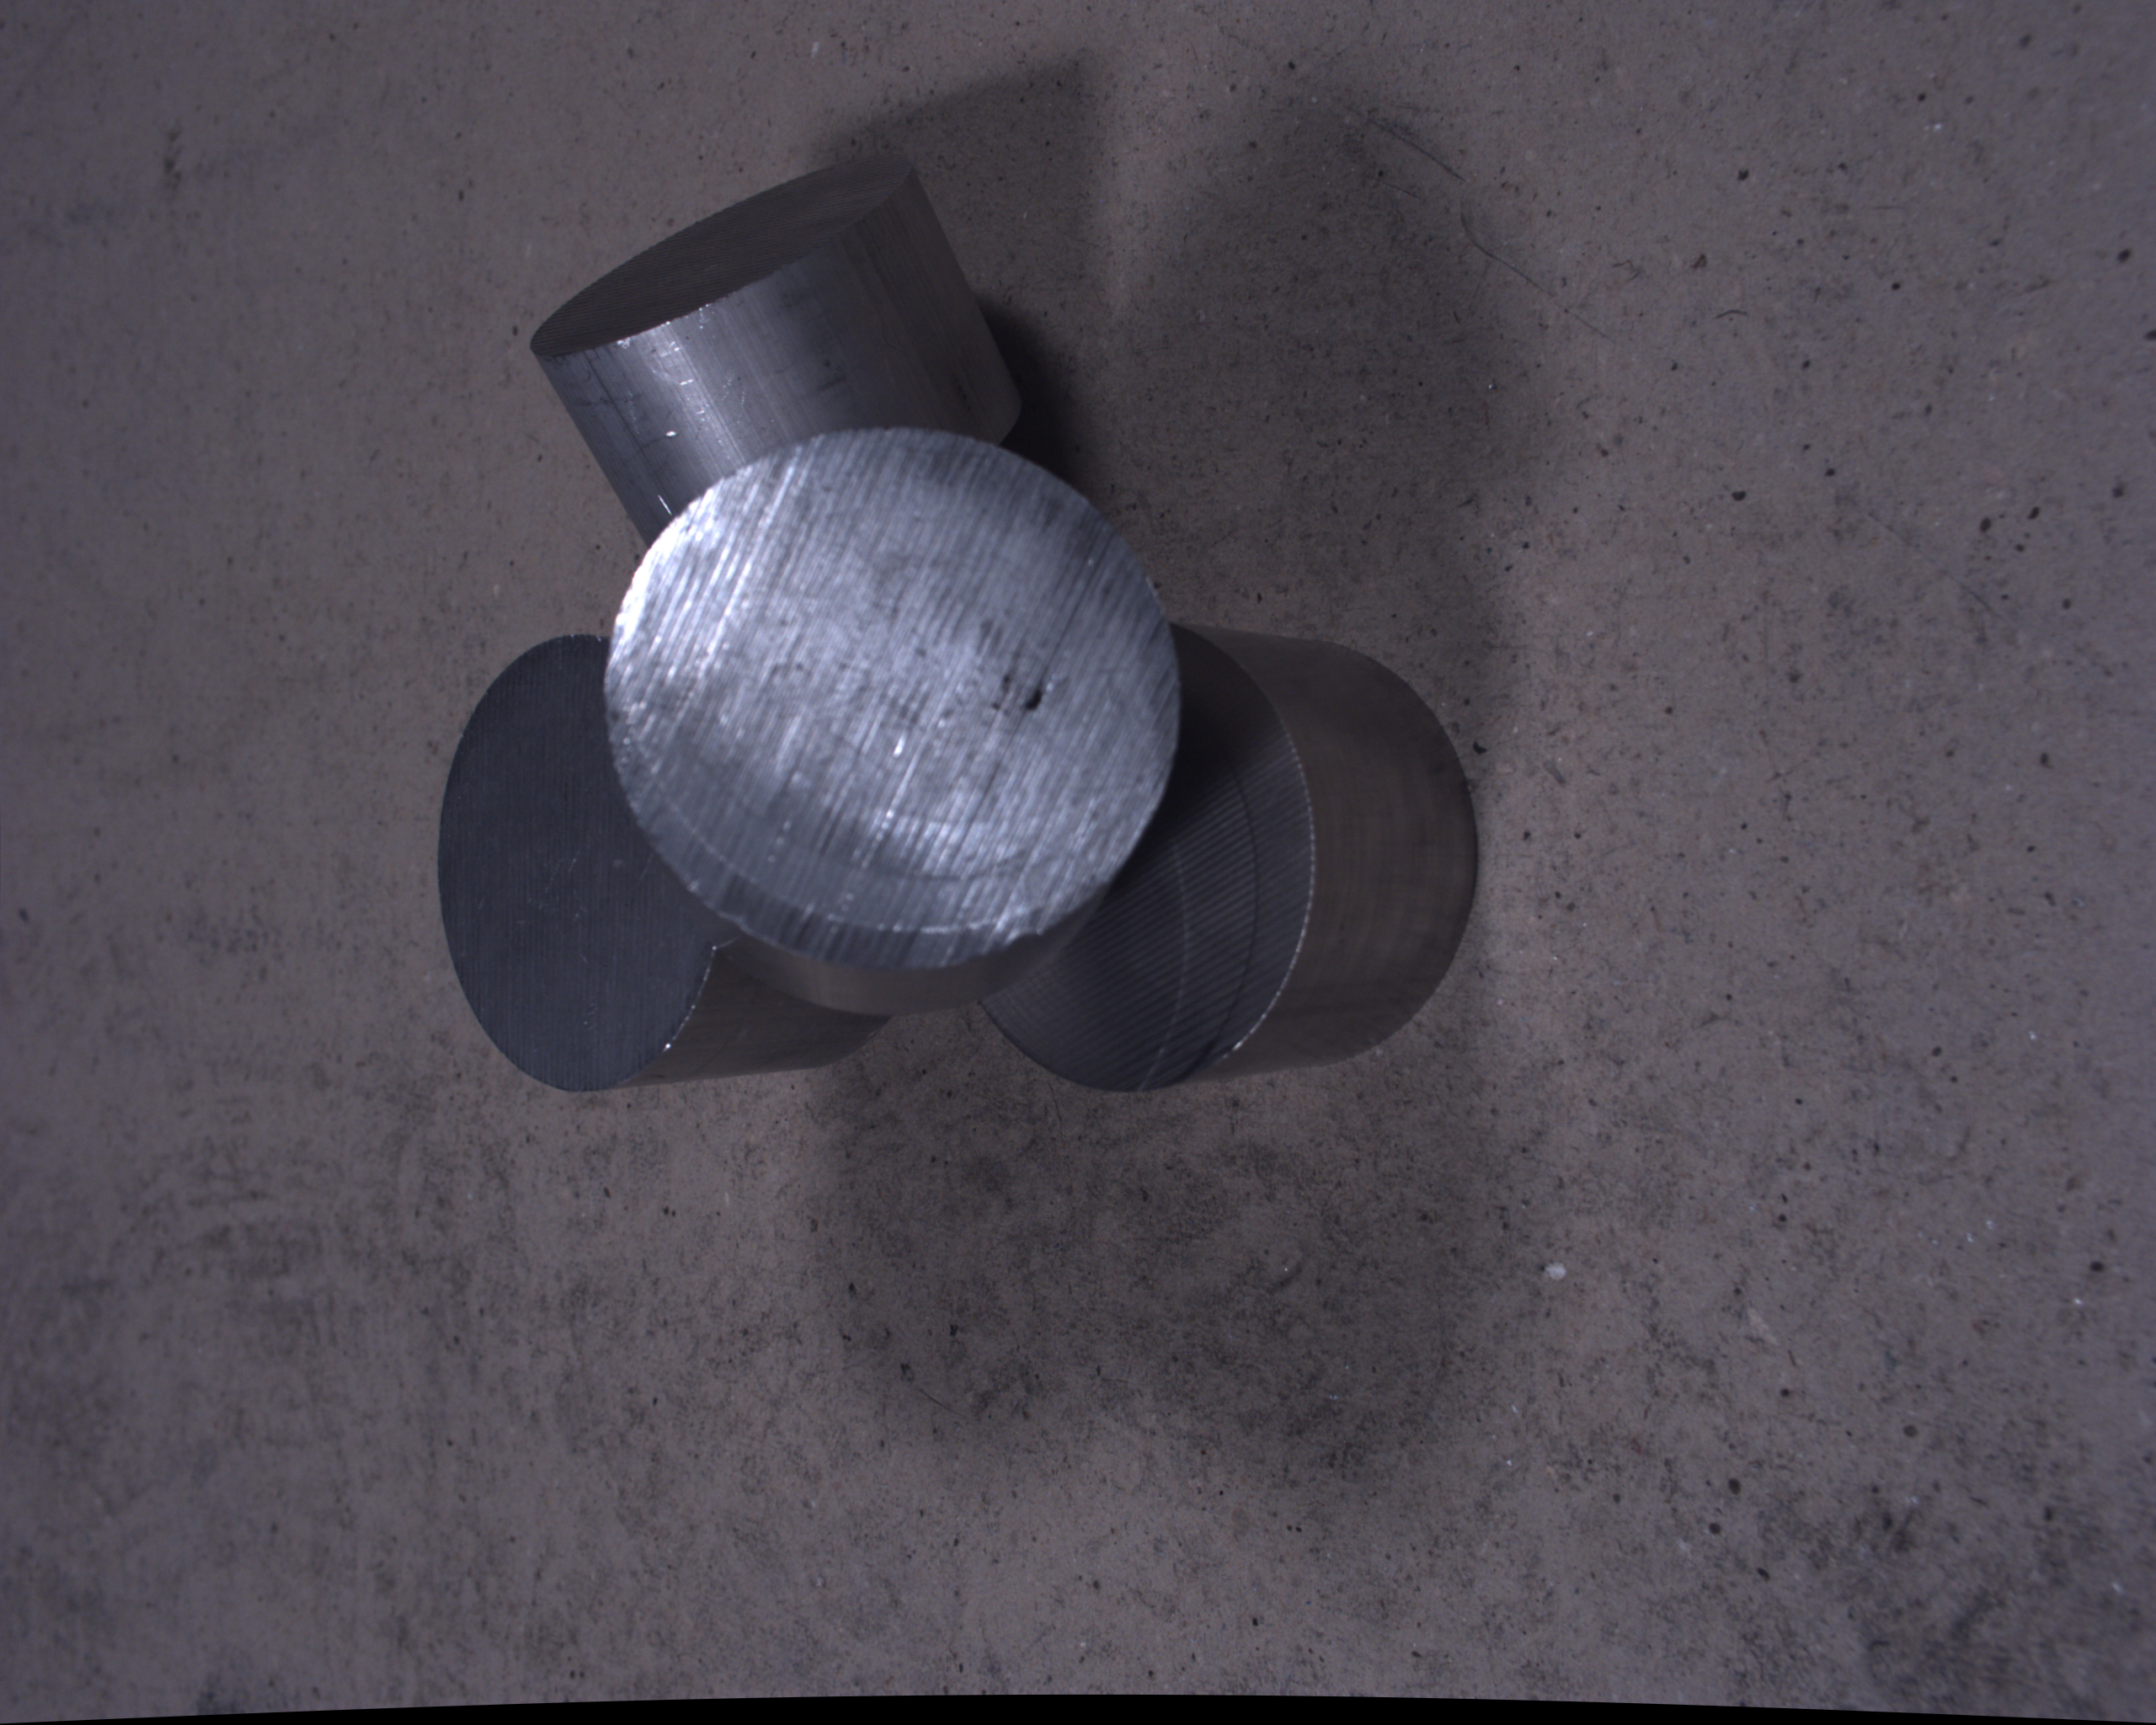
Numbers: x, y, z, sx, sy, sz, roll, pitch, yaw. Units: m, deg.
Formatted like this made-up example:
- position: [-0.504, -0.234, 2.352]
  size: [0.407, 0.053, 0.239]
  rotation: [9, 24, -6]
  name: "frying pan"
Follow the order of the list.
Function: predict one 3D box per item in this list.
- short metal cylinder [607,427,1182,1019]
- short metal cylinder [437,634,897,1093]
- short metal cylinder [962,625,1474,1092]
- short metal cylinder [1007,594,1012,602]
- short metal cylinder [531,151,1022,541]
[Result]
- position: [-0.028, -0.019, 0.317]
  size: [0.050, 0.081, 0.080]
  rotation: [118, 140, -76]
  name: "short metal cylinder"
- position: [-0.072, 0.000, 0.381]
  size: [0.080, 0.050, 0.079]
  rotation: [0, 90, 39]
  name: "short metal cylinder"
- position: [0.022, -0.001, 0.370]
  size: [0.080, 0.050, 0.079]
  rotation: [0, 90, 39]
  name: "short metal cylinder"
- position: [-0.047, -0.022, 0.427]
  size: [0.080, 0.050, 0.079]
  rotation: [0, 90, 39]
  name: "short metal cylinder"
- position: [-0.058, -0.097, 0.408]
  size: [0.080, 0.080, 0.050]
  rotation: [0, 129, 39]
  name: "short metal cylinder"
